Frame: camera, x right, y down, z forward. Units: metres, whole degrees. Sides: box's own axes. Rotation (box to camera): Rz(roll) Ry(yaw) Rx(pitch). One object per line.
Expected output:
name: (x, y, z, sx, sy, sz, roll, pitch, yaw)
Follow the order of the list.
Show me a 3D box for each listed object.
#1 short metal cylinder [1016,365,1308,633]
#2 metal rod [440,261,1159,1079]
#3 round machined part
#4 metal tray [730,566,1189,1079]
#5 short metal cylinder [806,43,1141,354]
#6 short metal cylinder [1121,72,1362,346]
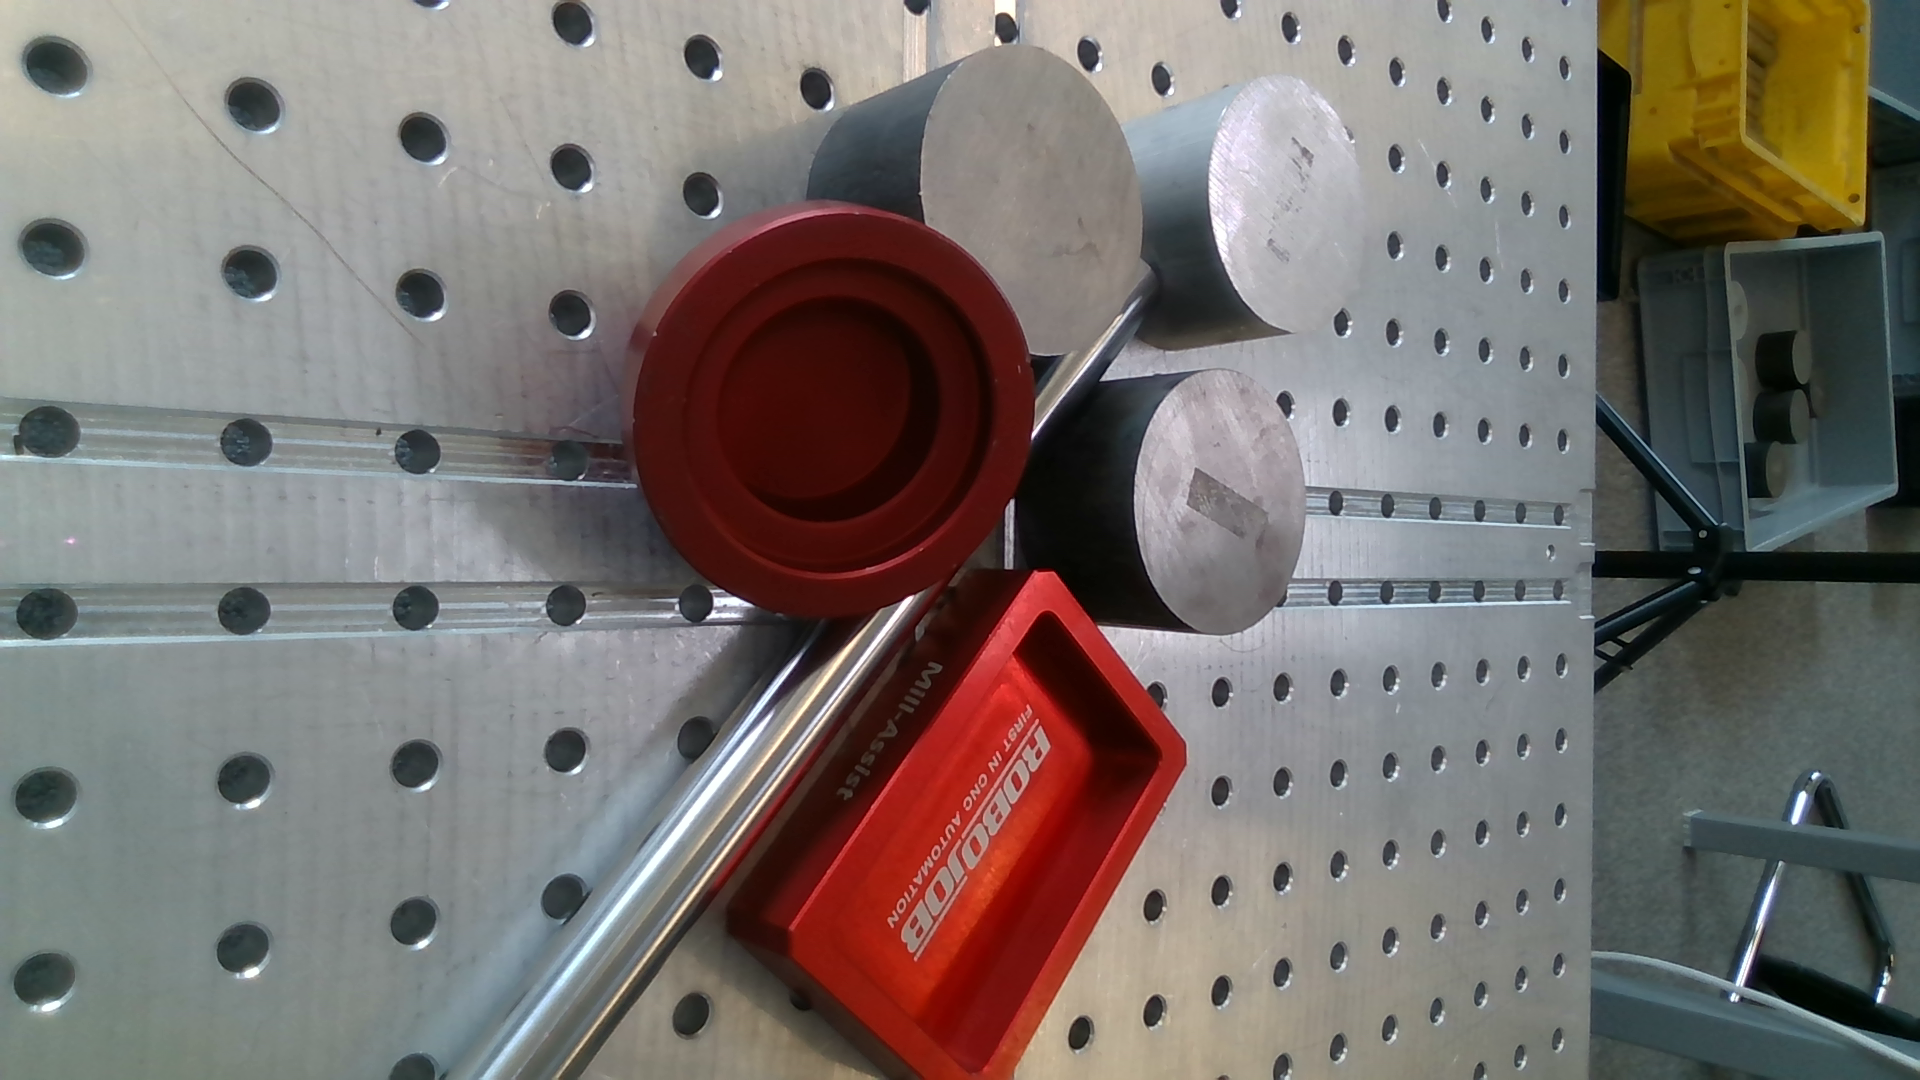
short metal cylinder: (0.064, -0.012, 0.431, 0.080, 0.050, 0.080, 0, 90, -40)
metal rod: (-0.028, 0.023, 0.371, 0.025, 0.025, 0.299, 52, 59, -27)
round machined part: (-0.035, -0.035, 0.340, 0.098, 0.042, 0.098, -8, 111, -22)
metal tray: (0.006, 0.082, 0.395, 0.090, 0.030, 0.130, 51, 60, -27)
short metal cylinder: (0.004, -0.090, 0.381, 0.080, 0.050, 0.080, 0, 90, -40)
short metal cylinder: (0.087, -0.106, 0.451, 0.080, 0.050, 0.080, 0, 90, -40)
